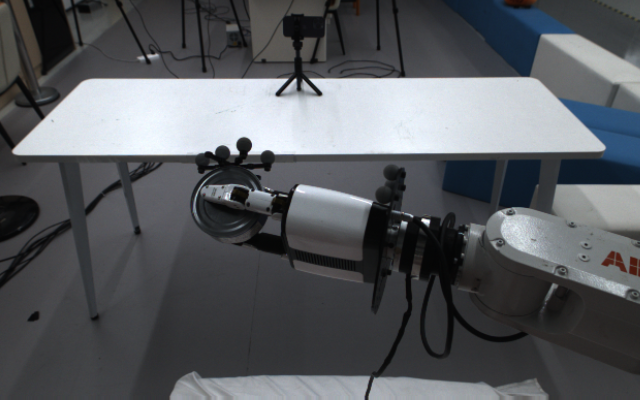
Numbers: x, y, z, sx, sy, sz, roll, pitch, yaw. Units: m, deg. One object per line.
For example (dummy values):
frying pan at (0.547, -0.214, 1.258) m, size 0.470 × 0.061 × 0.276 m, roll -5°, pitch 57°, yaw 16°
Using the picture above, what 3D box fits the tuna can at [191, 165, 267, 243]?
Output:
tuna can at (-0.100, 0.010, 0.553) m, size 0.085 × 0.034 × 0.085 m, roll -2°, pitch 69°, yaw 6°
